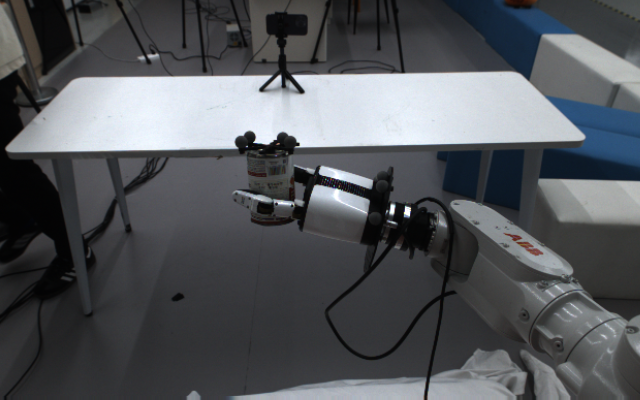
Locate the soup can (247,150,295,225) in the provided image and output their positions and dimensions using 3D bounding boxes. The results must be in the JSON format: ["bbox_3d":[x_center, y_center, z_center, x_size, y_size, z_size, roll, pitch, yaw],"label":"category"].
[{"bbox_3d":[-0.068,-0.021,0.692,0.067,0.101,0.067,-2,17,0],"label":"soup can"}]
